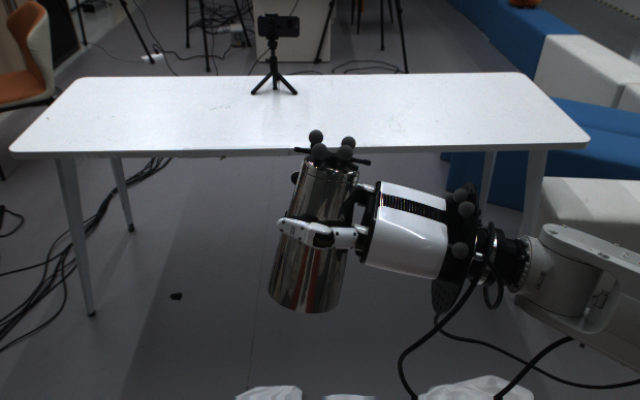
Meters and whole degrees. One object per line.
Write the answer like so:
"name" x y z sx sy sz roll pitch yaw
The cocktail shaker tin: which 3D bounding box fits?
"cocktail shaker tin" -0.002 0.037 0.577 0.093 0.170 0.093 11 19 -4
